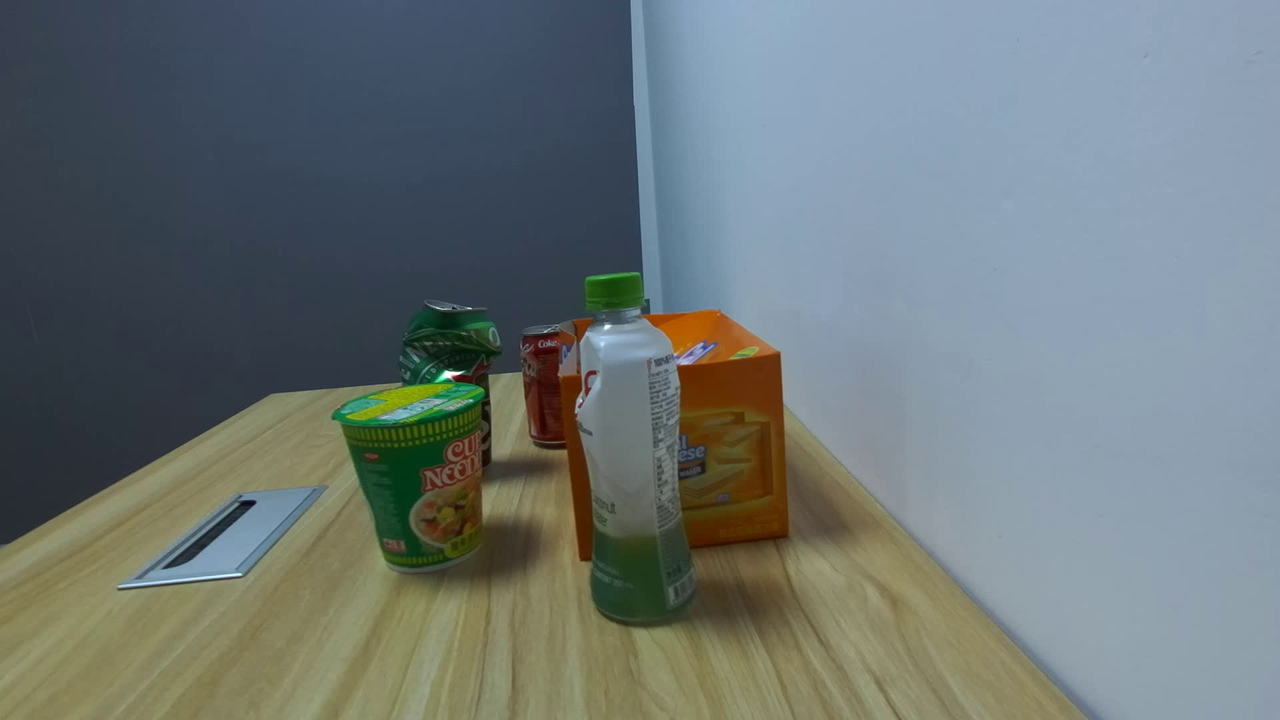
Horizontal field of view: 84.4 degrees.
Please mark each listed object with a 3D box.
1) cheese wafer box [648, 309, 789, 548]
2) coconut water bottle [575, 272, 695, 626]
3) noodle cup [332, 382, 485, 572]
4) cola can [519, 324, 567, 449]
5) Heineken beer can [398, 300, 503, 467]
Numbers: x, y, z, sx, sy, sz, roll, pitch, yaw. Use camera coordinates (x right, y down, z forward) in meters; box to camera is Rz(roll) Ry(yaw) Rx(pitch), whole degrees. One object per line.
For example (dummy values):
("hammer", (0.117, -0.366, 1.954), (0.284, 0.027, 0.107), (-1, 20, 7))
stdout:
("cheese wafer box", (0.014, 0.042, 0.559), (0.152, 0.132, 0.230), (-5, 14, -4))
("coconut water bottle", (-0.006, 0.047, 0.395), (0.069, 0.186, 0.069), (-6, 11, 1))
("noodle cup", (-0.148, 0.079, 0.485), (0.097, 0.110, 0.097), (-5, 14, 1))
("cola can", (-0.075, 0.020, 0.653), (0.066, 0.117, 0.066), (-9, 17, -8))
("Heineken beer can", (-0.169, 0.028, 0.624), (0.079, 0.159, 0.067), (-3, 13, -28))
